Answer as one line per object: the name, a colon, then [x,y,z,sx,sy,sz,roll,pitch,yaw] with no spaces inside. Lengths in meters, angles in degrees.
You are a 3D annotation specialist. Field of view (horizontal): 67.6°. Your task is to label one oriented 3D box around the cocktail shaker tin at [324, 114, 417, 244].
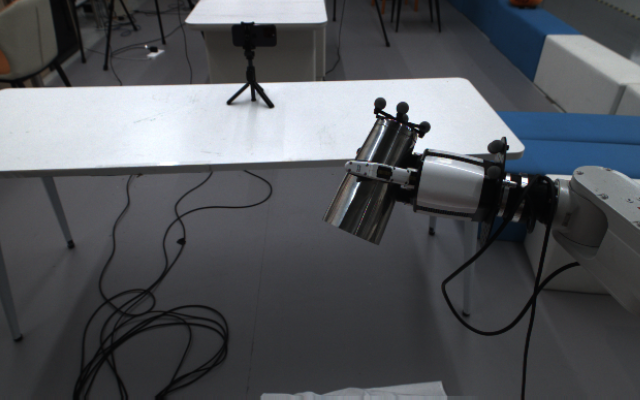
cocktail shaker tin: [0.081,-0.033,0.711,0.093,0.170,0.093,23,0,0]
